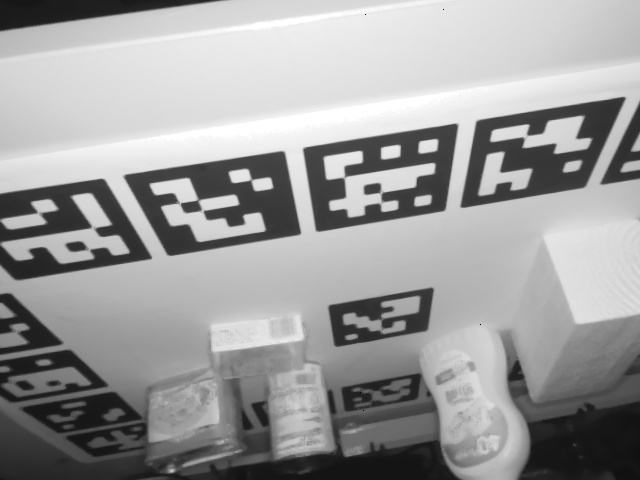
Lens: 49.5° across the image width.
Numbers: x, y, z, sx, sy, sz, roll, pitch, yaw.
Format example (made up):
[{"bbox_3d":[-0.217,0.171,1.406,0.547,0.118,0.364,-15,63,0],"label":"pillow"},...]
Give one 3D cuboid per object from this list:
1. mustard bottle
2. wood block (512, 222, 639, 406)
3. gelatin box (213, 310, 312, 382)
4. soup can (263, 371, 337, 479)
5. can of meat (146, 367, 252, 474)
[{"bbox_3d":[0.173,0.191,0.714,0.095,0.192,0.059,-23,142,19],"label":"mustard bottle"},{"bbox_3d":[0.259,0.079,0.663,0.091,0.090,0.204,-7,148,-2],"label":"wood block"},{"bbox_3d":[-0.056,0.100,0.655,0.090,0.030,0.072,-4,141,-13],"label":"gelatin box"},{"bbox_3d":[-0.023,0.198,0.726,0.068,0.102,0.067,-7,142,-5],"label":"soup can"},{"bbox_3d":[-0.123,0.184,0.713,0.101,0.084,0.058,-15,143,10],"label":"can of meat"}]
